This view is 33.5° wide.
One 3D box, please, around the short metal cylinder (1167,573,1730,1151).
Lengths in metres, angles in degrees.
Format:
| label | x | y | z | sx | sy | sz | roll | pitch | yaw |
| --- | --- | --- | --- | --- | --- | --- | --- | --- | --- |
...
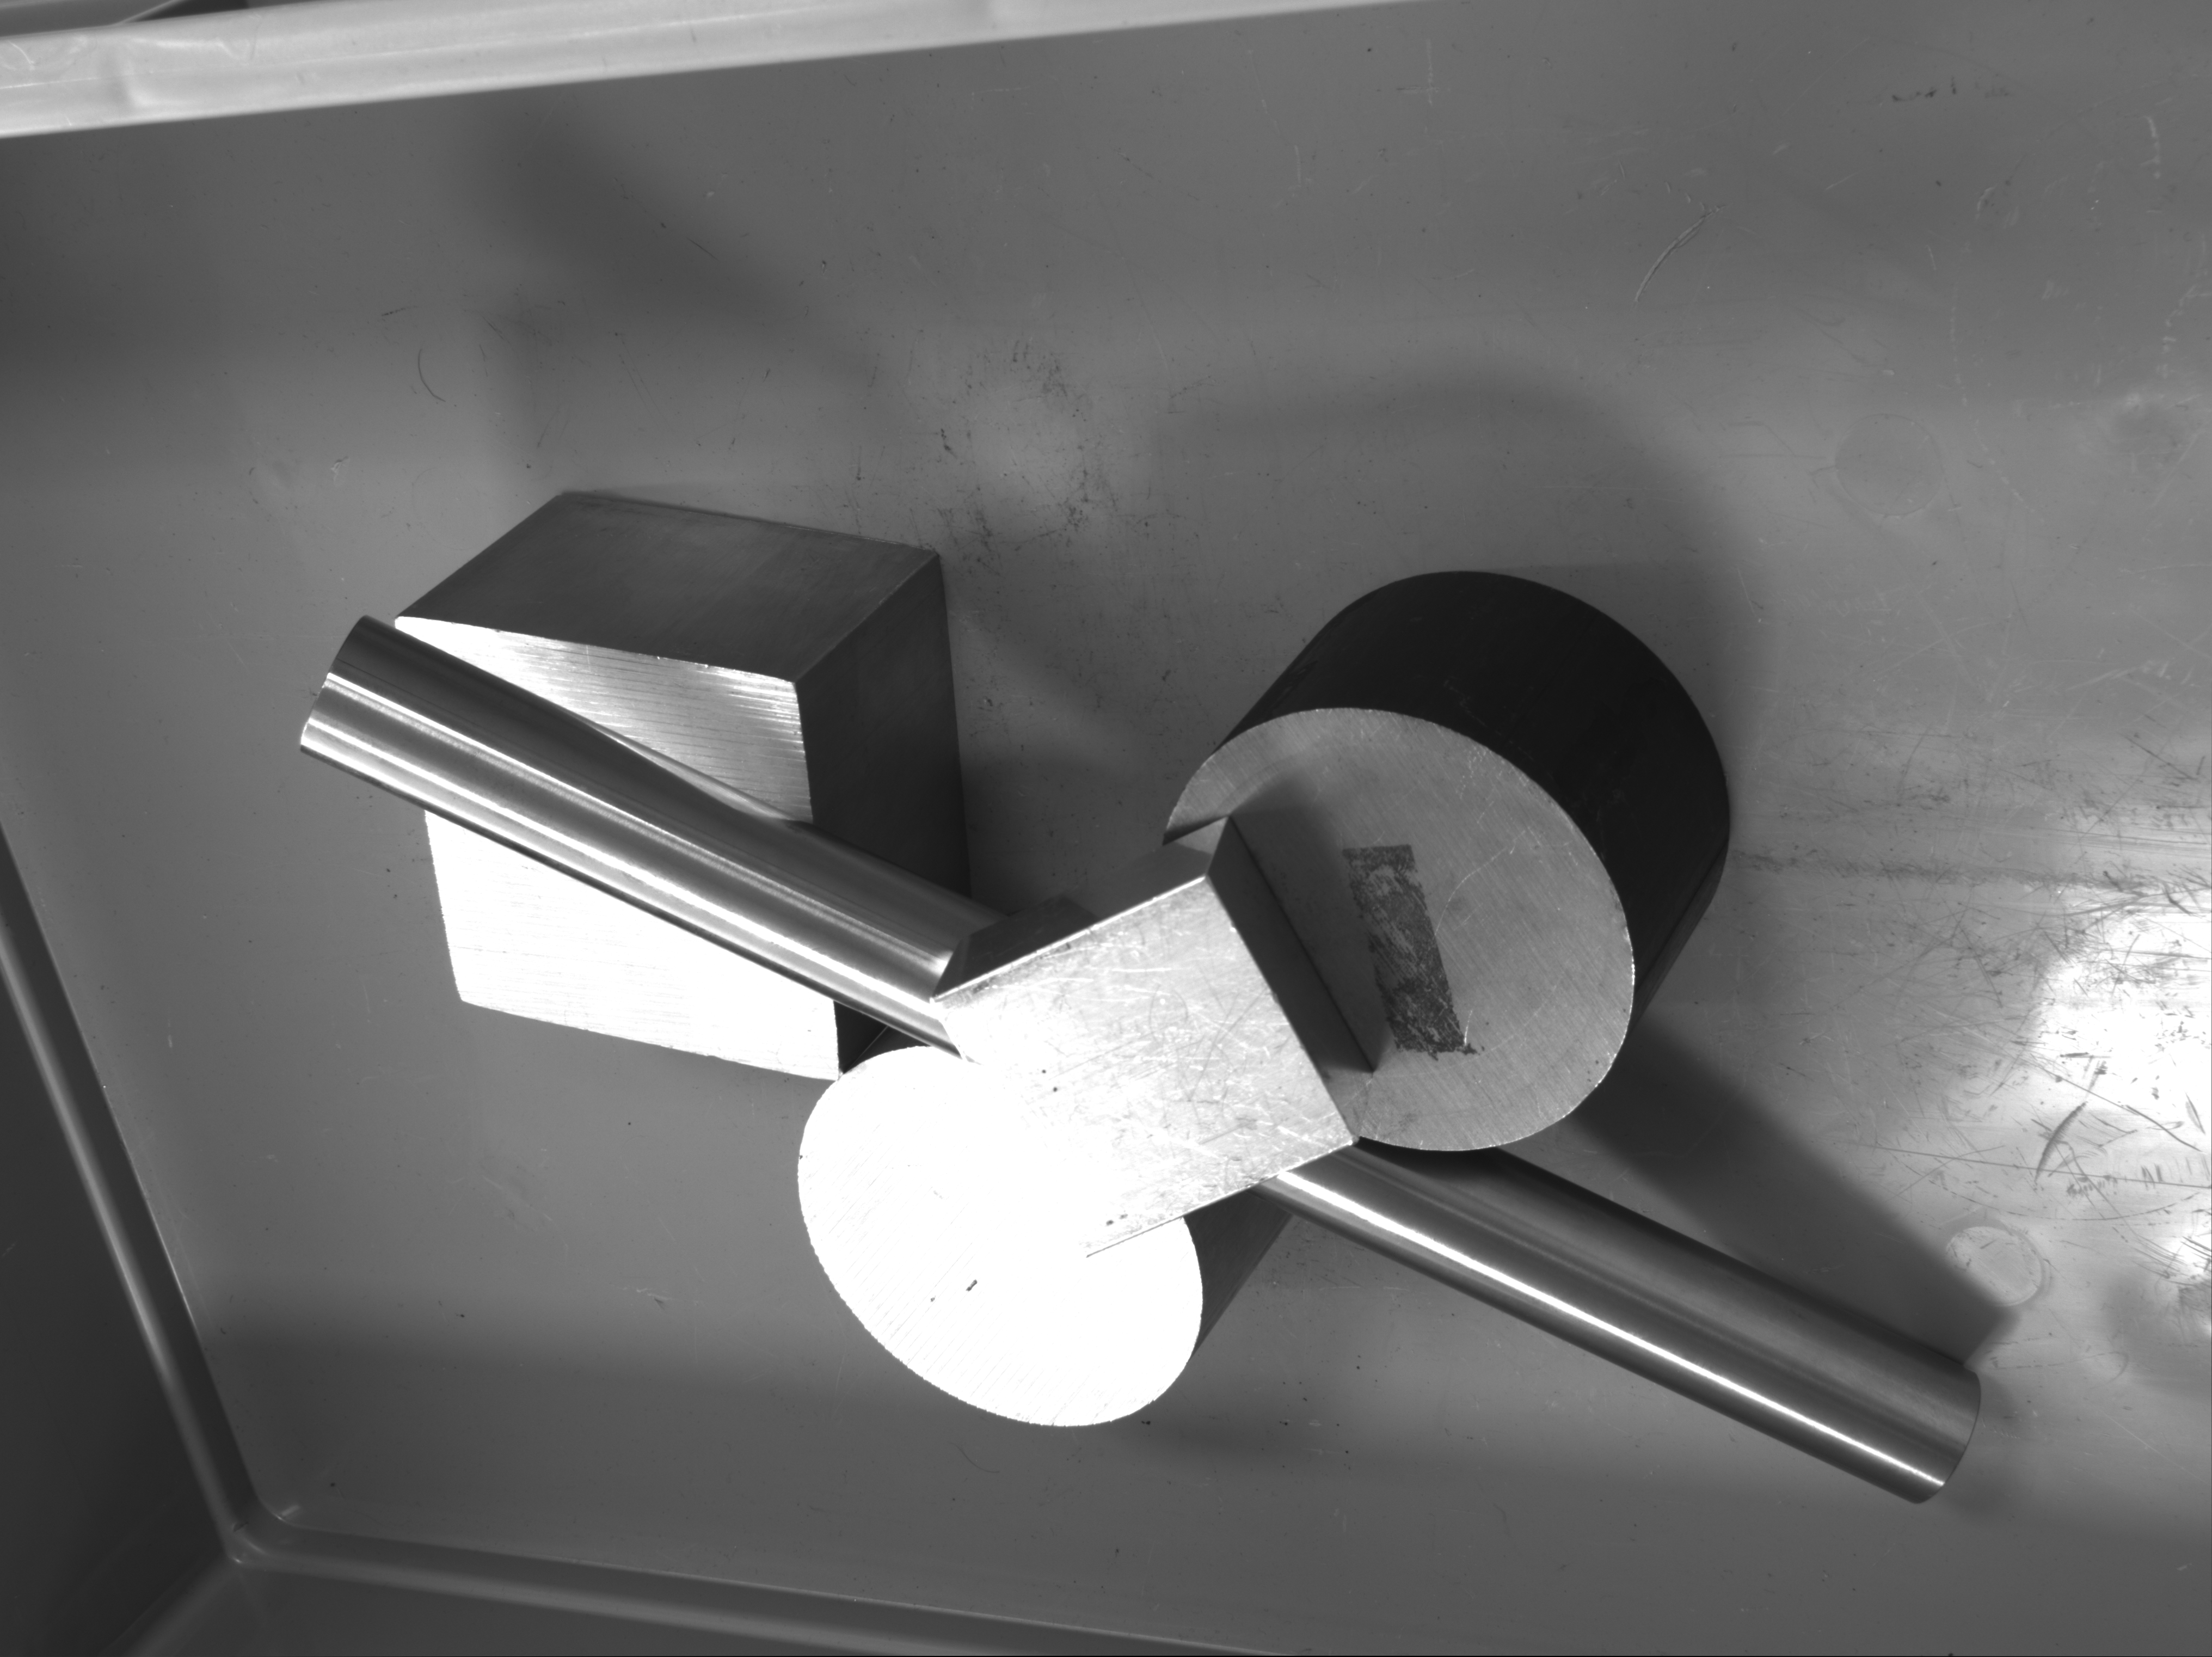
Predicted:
| label | x | y | z | sx | sy | sz | roll | pitch | yaw |
| --- | --- | --- | --- | --- | --- | --- | --- | --- | --- |
| short metal cylinder | 0.056 | 0.005 | 0.599 | 0.080 | 0.050 | 0.080 | 13 | 124 | 21 |

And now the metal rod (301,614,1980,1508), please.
| label | x | y | z | sx | sy | sz | roll | pitch | yaw |
| --- | --- | --- | --- | --- | --- | --- | --- | --- | --- |
| metal rod | 0.009 | 0.041 | 0.616 | 0.300 | 0.025 | 0.025 | 26 | 129 | -5 |

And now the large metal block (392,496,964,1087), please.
| label | x | y | z | sx | sy | sz | roll | pitch | yaw |
| --- | --- | --- | --- | --- | --- | --- | --- | --- | --- |
| large metal block | -0.074 | -0.008 | 0.658 | 0.080 | 0.050 | 0.080 | 10 | 123 | 23 |

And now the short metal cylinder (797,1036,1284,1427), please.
| label | x | y | z | sx | sy | sz | roll | pitch | yaw |
| --- | --- | --- | --- | --- | --- | --- | --- | --- | --- |
| short metal cylinder | -0.009 | 0.061 | 0.667 | 0.080 | 0.050 | 0.080 | 13 | 124 | 21 |

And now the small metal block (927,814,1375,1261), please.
| label | x | y | z | sx | sy | sz | roll | pitch | yaw |
| --- | --- | --- | --- | --- | --- | --- | --- | --- | --- |
| small metal block | 0.008 | 0.033 | 0.584 | 0.050 | 0.025 | 0.050 | -25 | 105 | 18 |
